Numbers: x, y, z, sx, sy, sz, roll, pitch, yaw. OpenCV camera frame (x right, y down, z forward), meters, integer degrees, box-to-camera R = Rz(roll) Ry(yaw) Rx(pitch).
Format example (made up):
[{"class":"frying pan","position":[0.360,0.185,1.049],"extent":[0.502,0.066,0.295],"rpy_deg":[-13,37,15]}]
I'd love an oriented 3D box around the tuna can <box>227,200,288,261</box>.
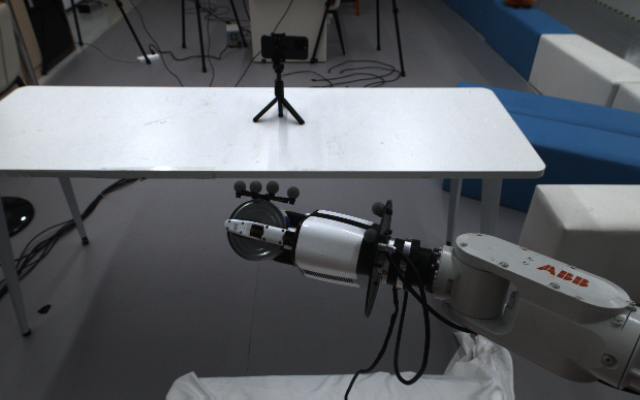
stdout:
[{"class":"tuna can","position":[-0.084,0.042,0.678],"extent":[0.085,0.085,0.034],"rpy_deg":[11,-5,13]}]
